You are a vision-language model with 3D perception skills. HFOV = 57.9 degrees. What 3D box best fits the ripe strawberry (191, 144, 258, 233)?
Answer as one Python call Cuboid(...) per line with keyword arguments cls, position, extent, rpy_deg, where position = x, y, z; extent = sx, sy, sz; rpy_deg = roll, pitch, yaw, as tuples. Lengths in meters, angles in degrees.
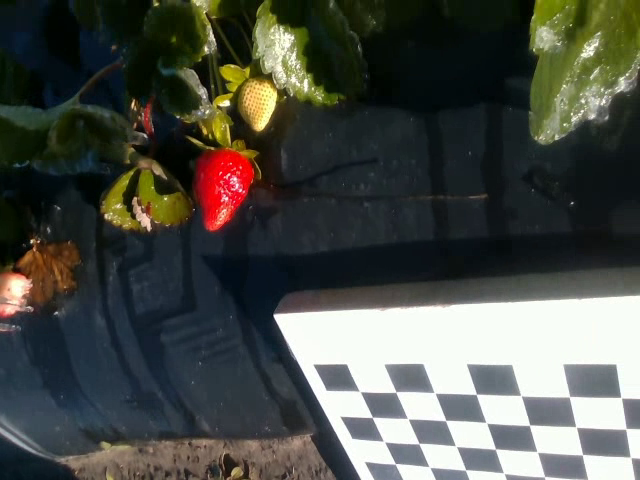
Cuboid(cls="ripe strawberry", position=(-0.045, -0.020, 0.267), extent=(0.039, 0.039, 0.040), rpy_deg=(-10, -33, 43))
